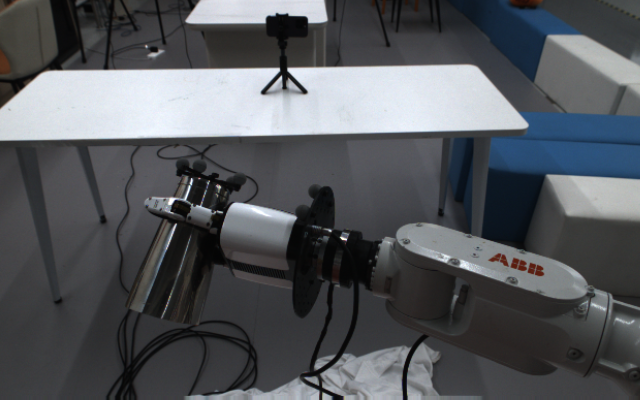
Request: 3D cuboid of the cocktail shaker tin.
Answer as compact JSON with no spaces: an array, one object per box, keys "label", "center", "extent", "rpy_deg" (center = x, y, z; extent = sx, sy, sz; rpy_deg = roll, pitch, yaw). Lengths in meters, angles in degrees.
[{"label":"cocktail shaker tin","center":[-0.168,0.059,0.607],"extent":[0.093,0.093,0.170],"rpy_deg":[13,77,15]}]
